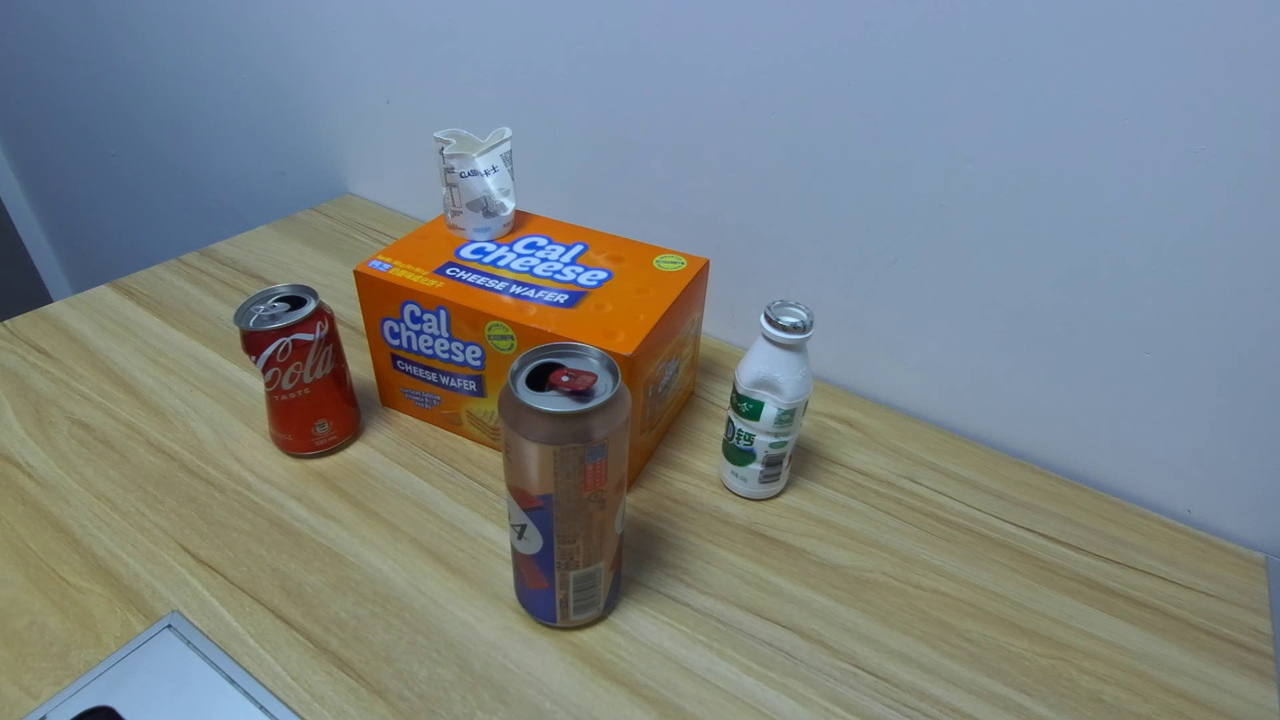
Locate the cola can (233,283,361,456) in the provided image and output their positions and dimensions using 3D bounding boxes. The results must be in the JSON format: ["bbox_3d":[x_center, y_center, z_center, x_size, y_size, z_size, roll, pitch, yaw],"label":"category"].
[{"bbox_3d":[-0.241,0.010,0.506,0.065,0.117,0.072,-5,36,-13],"label":"cola can"}]

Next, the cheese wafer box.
[{"bbox_3d":[-0.077,-0.020,0.554,0.221,0.129,0.148,18,40,18],"label":"cheese wafer box"}]

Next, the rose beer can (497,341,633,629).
[{"bbox_3d":[-0.040,0.075,0.394,0.068,0.169,0.068,2,36,-1],"label":"rose beer can"}]

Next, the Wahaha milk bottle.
[{"bbox_3d":[0.088,0.034,0.484,0.053,0.137,0.053,2,37,-1],"label":"Wahaha milk bottle"}]

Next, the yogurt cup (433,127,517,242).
[{"bbox_3d":[-0.124,-0.135,0.539,0.055,0.072,0.055,-8,40,-16],"label":"yogurt cup"}]
